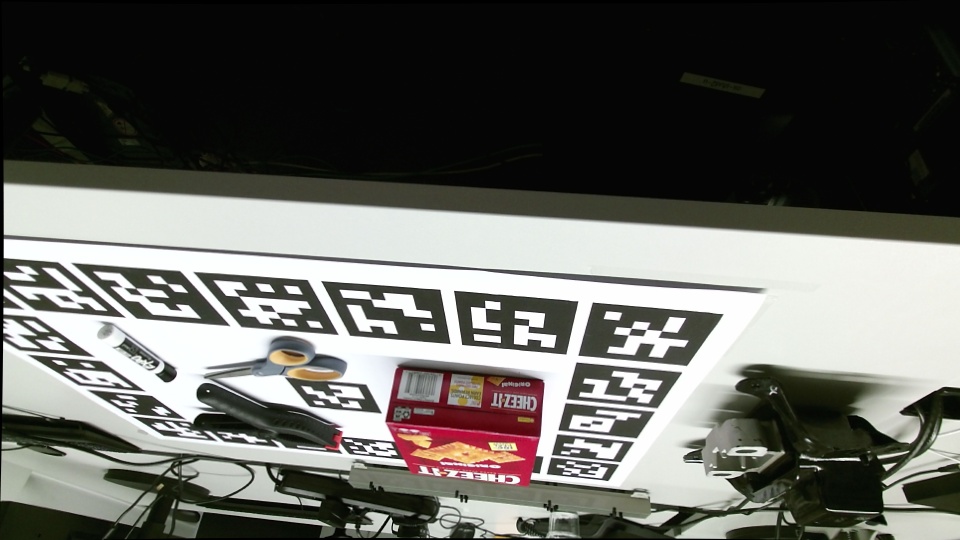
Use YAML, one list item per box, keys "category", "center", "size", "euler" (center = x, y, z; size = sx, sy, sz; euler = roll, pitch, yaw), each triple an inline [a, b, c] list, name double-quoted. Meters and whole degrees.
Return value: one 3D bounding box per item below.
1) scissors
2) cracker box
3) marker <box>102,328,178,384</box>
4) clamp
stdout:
- category: "scissors"
  center: [-0.245, 0.116, 0.611]
  size: [0.203, 0.016, 0.088]
  euler: [-12, 142, 29]
- category: "cracker box"
  center: [-0.014, 0.201, 0.645]
  size: [0.165, 0.071, 0.214]
  euler: [5, 145, 3]
- category: "marker"
  center: [-0.388, 0.104, 0.618]
  size: [0.020, 0.019, 0.121]
  euler: [2, 145, 7]
- category: "clamp"
  center: [-0.291, 0.218, 0.772]
  size: [0.203, 0.036, 0.165]
  euler: [23, 144, -20]
